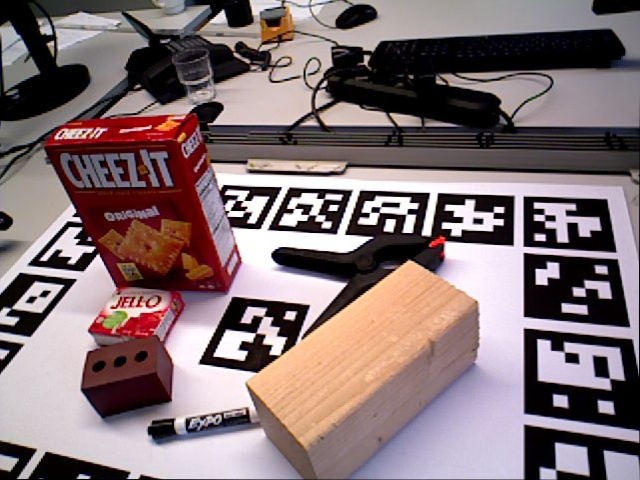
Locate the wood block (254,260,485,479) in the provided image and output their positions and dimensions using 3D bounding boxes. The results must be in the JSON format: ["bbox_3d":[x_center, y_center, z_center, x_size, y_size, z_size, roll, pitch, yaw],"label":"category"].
[{"bbox_3d":[0.052,0.115,0.500,0.202,0.092,0.090,-35,44,-25],"label":"wood block"}]

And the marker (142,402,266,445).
[{"bbox_3d":[-0.113,0.177,0.523,0.121,0.020,0.019,-12,44,2],"label":"marker"}]

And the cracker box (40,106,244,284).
[{"bbox_3d":[-0.195,-0.044,0.632,0.164,0.218,0.070,1,42,12],"label":"cracker box"}]

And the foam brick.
[{"bbox_3d":[-0.195,0.144,0.559,0.078,0.052,0.052,-15,44,-2],"label":"foam brick"}]

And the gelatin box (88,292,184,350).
[{"bbox_3d":[-0.214,0.097,0.635,0.090,0.031,0.072,1,46,16],"label":"gelatin box"}]

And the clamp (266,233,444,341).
[{"bbox_3d":[0.051,0.029,0.628,0.201,0.037,0.164,-20,43,-6],"label":"clamp"}]
